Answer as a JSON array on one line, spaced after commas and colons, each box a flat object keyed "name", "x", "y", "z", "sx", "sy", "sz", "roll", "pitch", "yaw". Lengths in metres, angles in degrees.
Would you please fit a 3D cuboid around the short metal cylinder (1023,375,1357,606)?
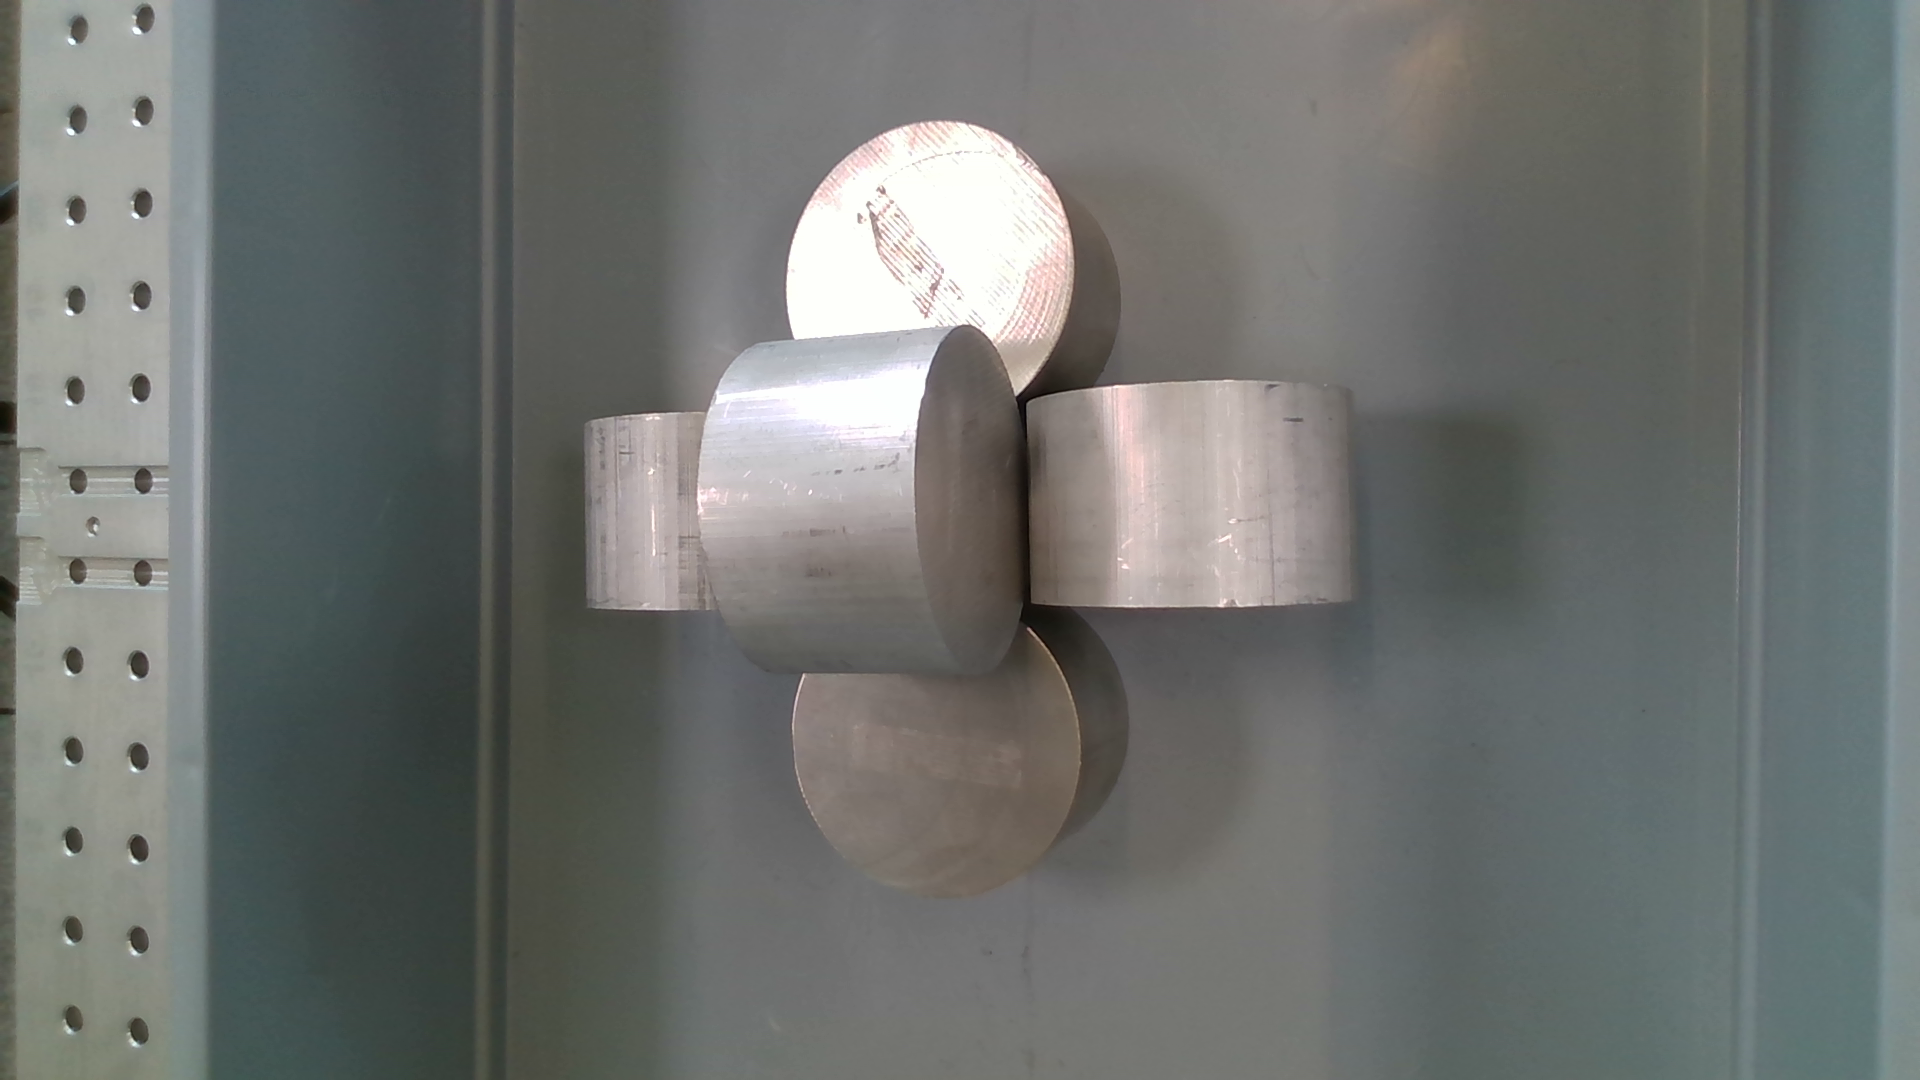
[{"name": "short metal cylinder", "x": 0.057, "y": -0.011, "z": 0.342, "sx": 0.080, "sy": 0.080, "sz": 0.050, "roll": -2, "pitch": 90, "yaw": 20}]

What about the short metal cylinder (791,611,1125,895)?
[{"name": "short metal cylinder", "x": 0.001, "y": 0.052, "z": 0.379, "sx": 0.080, "sy": 0.050, "sz": 0.080, "roll": 0, "pitch": 90, "yaw": 20}]

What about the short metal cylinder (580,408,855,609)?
[{"name": "short metal cylinder", "x": -0.065, "y": -0.008, "z": 0.387, "sx": 0.080, "sy": 0.080, "sz": 0.050, "roll": -2, "pitch": 90, "yaw": 20}]

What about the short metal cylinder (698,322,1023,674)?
[{"name": "short metal cylinder", "x": -0.019, "y": -0.009, "z": 0.323, "sx": 0.050, "sy": 0.080, "sz": 0.080, "roll": -1, "pitch": 90, "yaw": 20}]

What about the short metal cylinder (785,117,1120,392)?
[{"name": "short metal cylinder", "x": -0.001, "y": -0.069, "z": 0.379, "sx": 0.080, "sy": 0.050, "sz": 0.080, "roll": 0, "pitch": 90, "yaw": 20}]
